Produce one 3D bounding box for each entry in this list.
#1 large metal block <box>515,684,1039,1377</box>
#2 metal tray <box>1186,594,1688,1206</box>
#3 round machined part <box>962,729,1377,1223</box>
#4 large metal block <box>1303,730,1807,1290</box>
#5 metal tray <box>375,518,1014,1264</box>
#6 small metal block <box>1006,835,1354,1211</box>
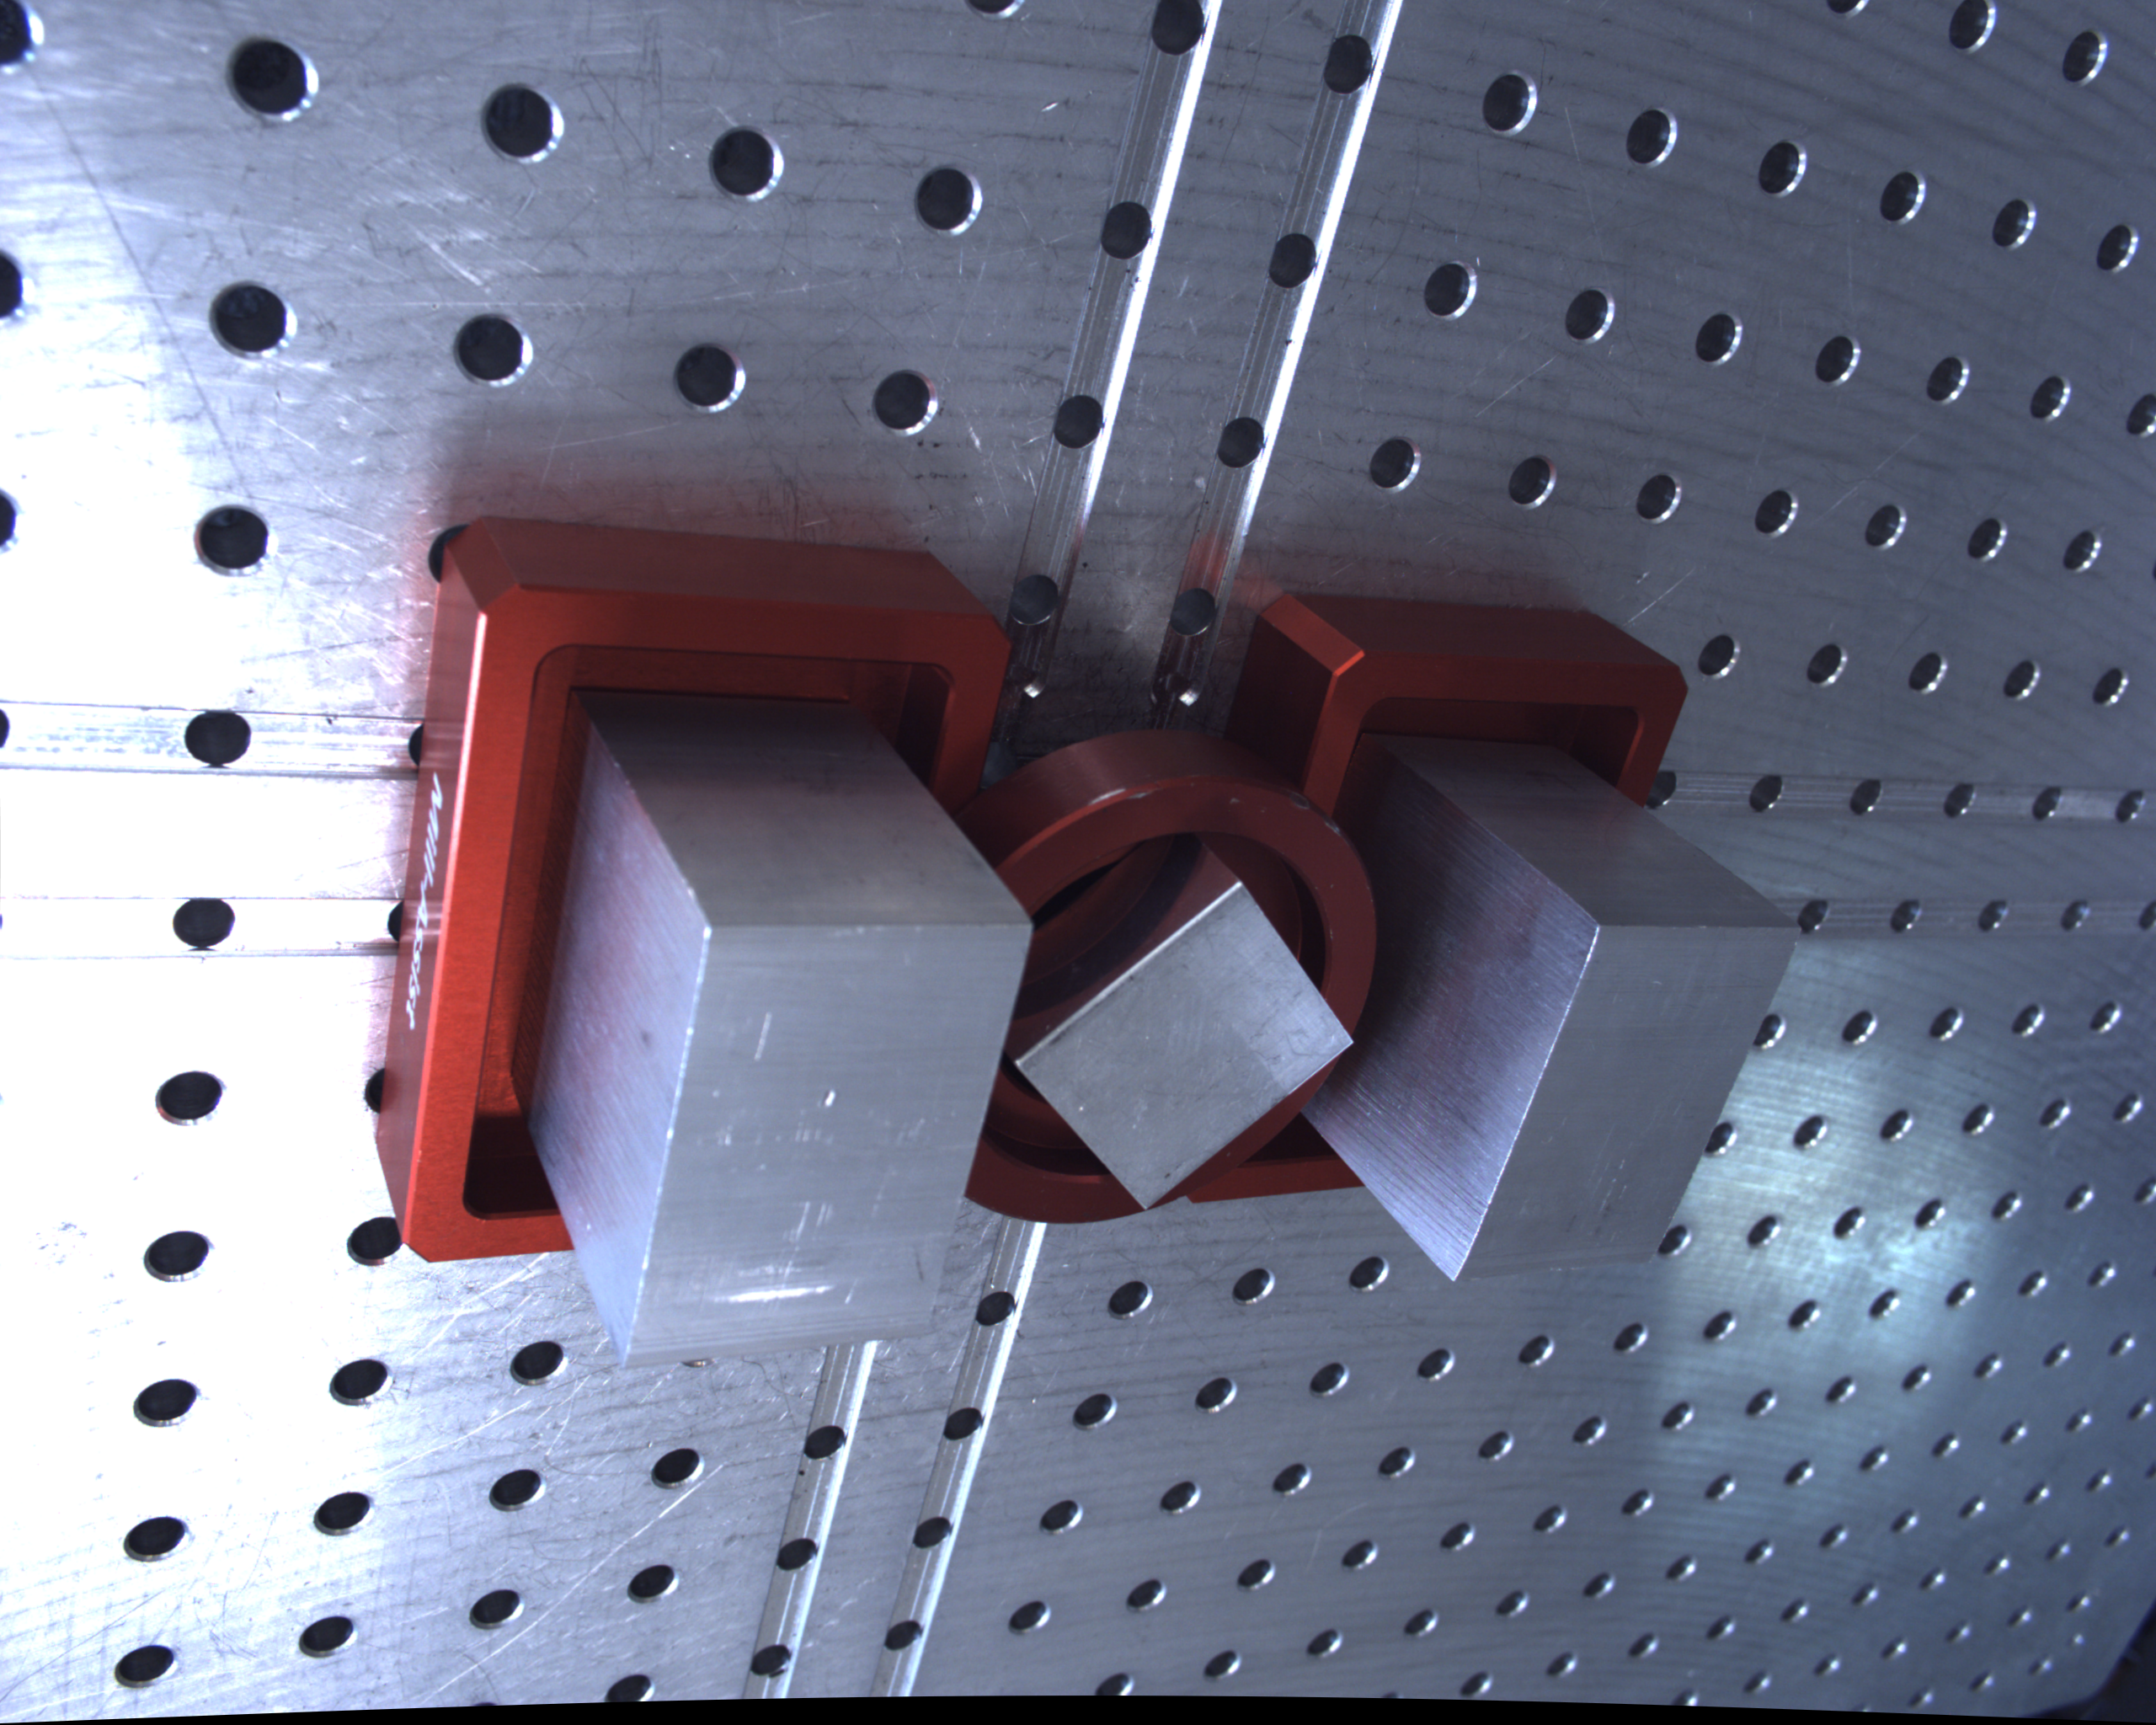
[{"bbox_3d":[-0.054,0.025,0.344,0.050,0.080,0.079,1,118,-29],"label":"large metal block"},{"bbox_3d":[0.068,0.010,0.450,0.091,0.030,0.129,0,118,-28],"label":"metal tray"},{"bbox_3d":[0.005,0.018,0.402,0.099,0.042,0.097,-14,124,-21],"label":"round machined part"},{"bbox_3d":[0.087,0.028,0.422,0.050,0.080,0.079,1,118,-29],"label":"large metal block"},{"bbox_3d":[-0.071,0.008,0.373,0.091,0.030,0.129,1,118,-29],"label":"metal tray"},{"bbox_3d":[0.015,0.028,0.384,0.050,0.025,0.050,-39,129,-2],"label":"small metal block"}]
